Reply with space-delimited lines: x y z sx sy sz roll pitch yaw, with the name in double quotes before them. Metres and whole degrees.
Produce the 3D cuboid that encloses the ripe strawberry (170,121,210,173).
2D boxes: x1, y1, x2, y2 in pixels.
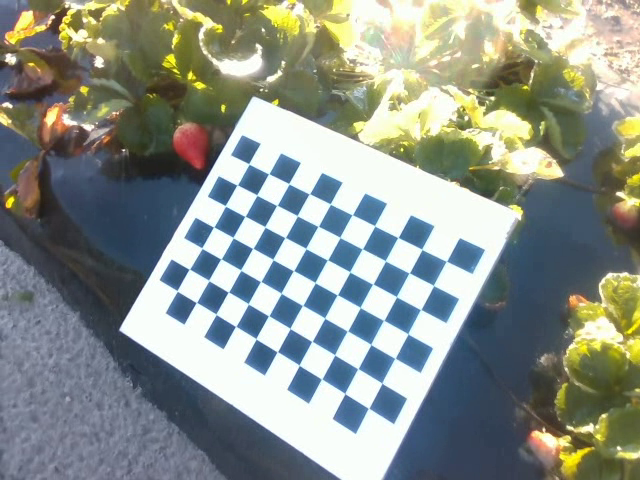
"ripe strawberry" -0.151 -0.105 0.684 0.040 0.065 0.040 -22 -18 6
